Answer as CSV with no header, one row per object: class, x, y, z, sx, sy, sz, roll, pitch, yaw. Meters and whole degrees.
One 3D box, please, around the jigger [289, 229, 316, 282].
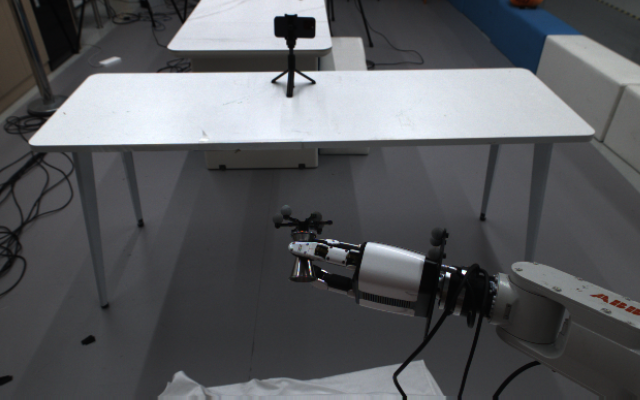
jigger,-0.025,0.082,0.712,0.043,0.043,0.071,1,70,-2
